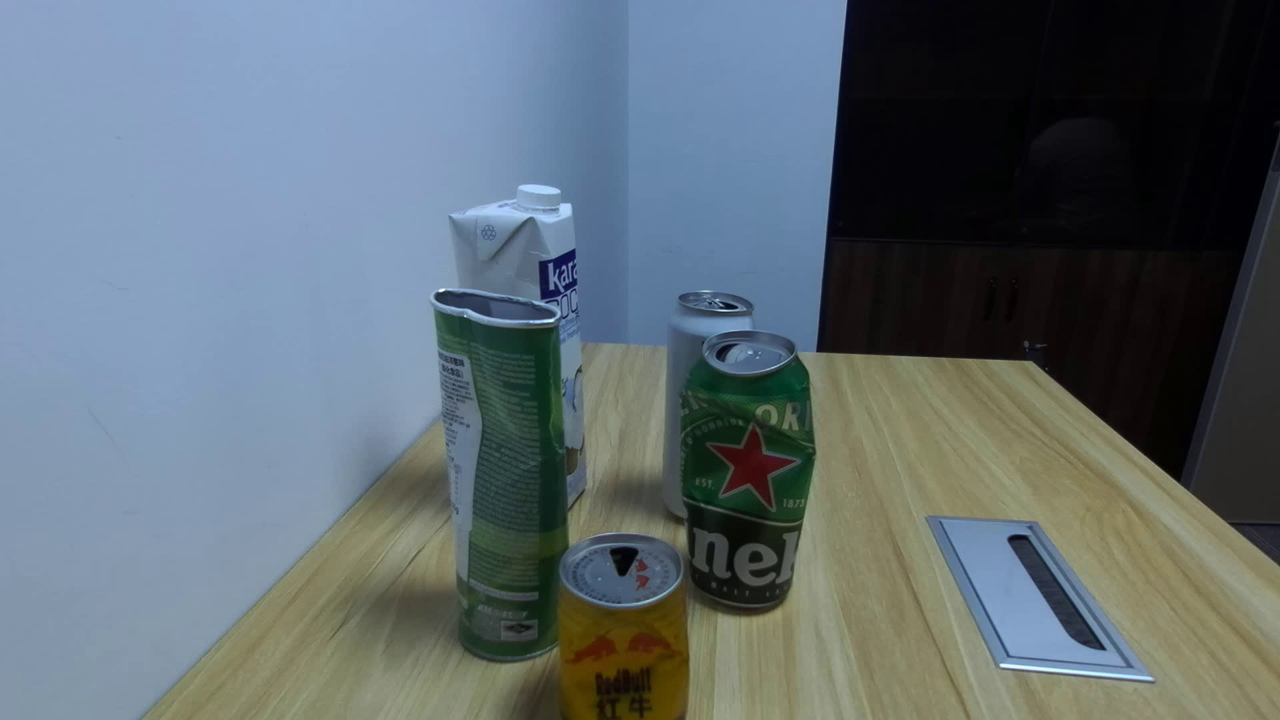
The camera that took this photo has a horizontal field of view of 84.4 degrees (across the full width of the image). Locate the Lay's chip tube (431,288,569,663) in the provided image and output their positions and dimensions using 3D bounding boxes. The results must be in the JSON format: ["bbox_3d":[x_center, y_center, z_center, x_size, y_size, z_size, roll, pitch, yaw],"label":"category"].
[{"bbox_3d":[-0.076,0.066,0.395,0.075,0.199,0.069,0,19,0],"label":"Lay's chip tube"}]

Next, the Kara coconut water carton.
[{"bbox_3d":[-0.084,-0.002,0.524,0.075,0.245,0.077,5,21,18],"label":"Kara coconut water carton"}]

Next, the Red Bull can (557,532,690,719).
[{"bbox_3d":[-0.007,0.138,0.347,0.072,0.092,0.072,-1,18,1],"label":"Red Bull can"}]

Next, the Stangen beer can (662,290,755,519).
[{"bbox_3d":[0.055,0.029,0.537,0.069,0.173,0.070,-1,28,-1],"label":"Stangen beer can"}]

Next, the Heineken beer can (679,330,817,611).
[{"bbox_3d":[0.065,0.070,0.433,0.069,0.168,0.068,-8,23,-17],"label":"Heineken beer can"}]
